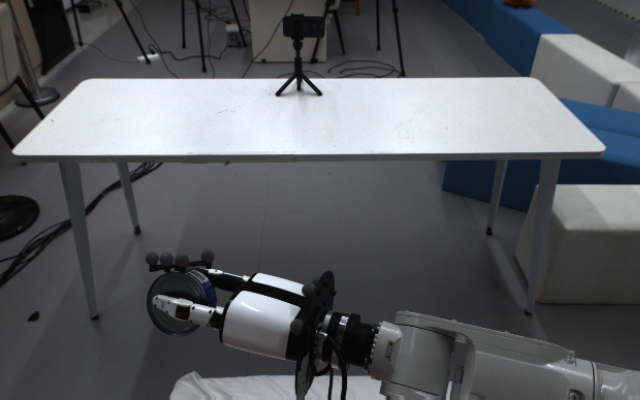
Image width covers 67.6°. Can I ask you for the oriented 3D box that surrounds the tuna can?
[{"bbox_3d":[-0.176,0.137,0.642,0.085,0.085,0.034,10,2,11],"label":"tuna can"}]
